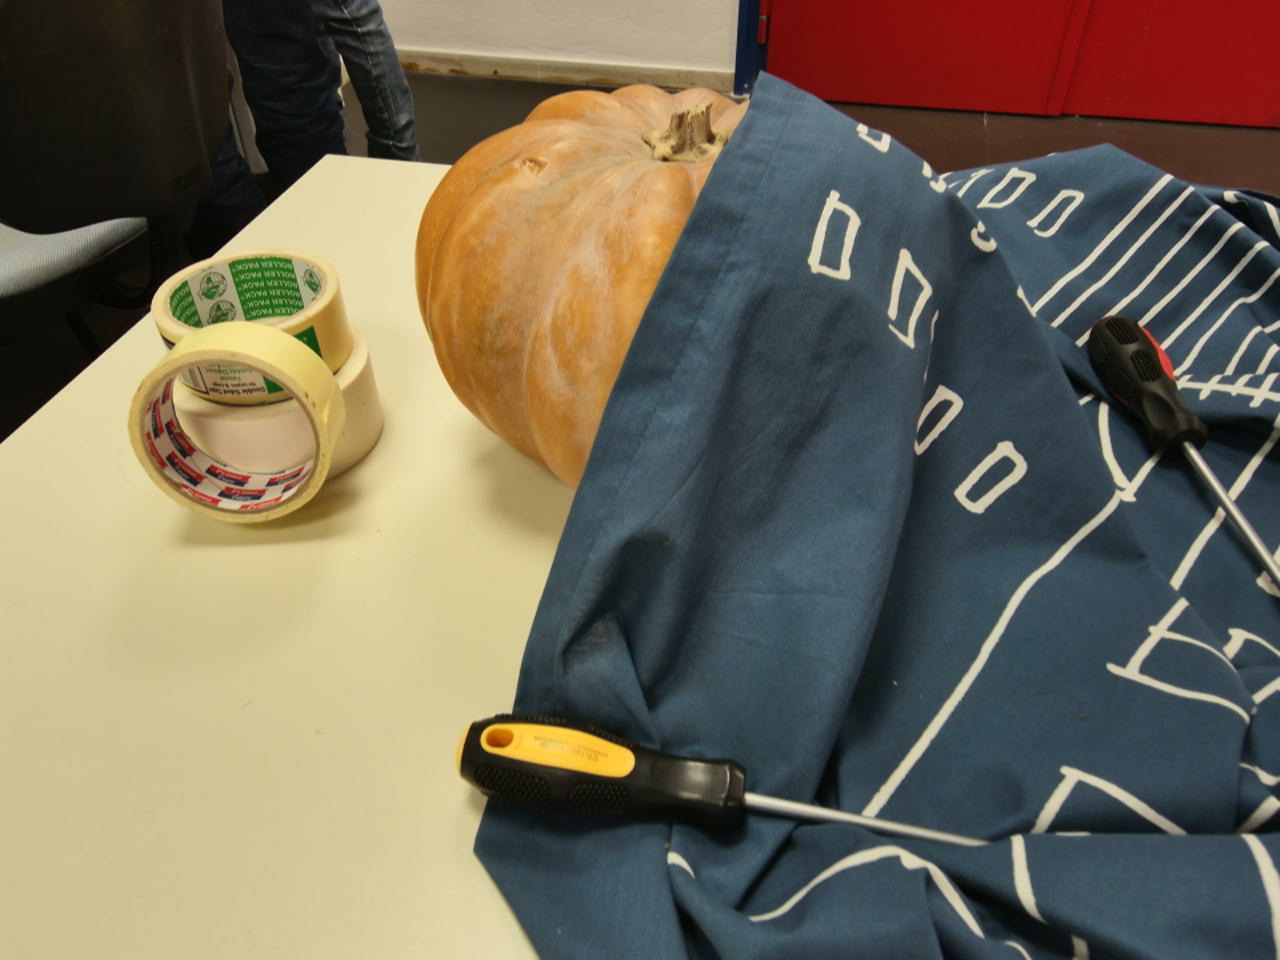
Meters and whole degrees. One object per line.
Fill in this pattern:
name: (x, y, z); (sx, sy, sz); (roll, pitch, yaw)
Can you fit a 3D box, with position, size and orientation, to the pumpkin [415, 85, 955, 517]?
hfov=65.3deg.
pumpkin: (0.020, -0.099, 0.513); (0.277, 0.181, 0.277); (0, 39, 0)
